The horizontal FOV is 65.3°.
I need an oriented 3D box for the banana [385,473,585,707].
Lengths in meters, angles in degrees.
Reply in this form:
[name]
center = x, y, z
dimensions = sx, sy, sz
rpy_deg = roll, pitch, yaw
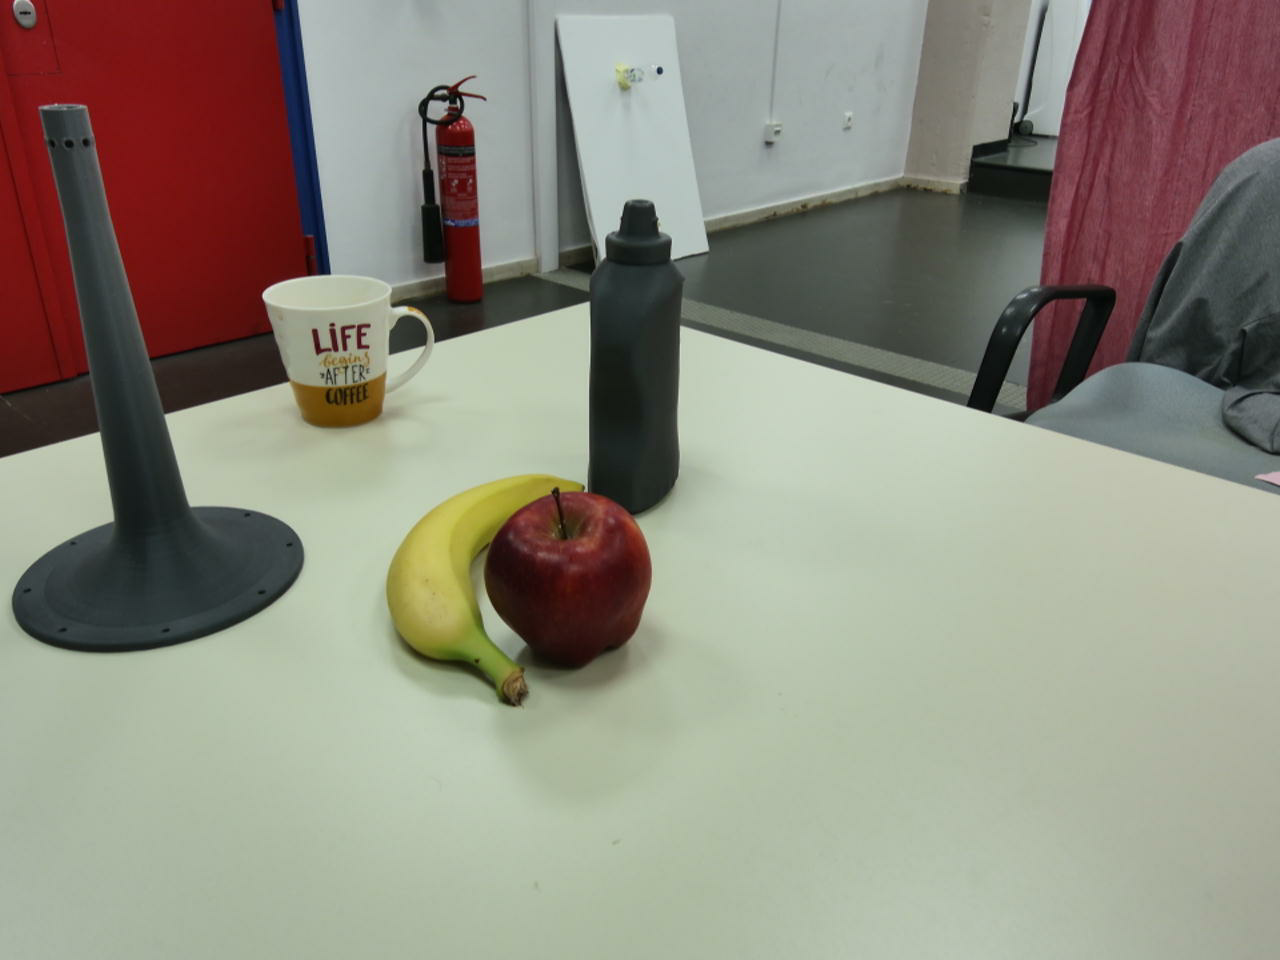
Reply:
[banana]
center = -0.090, 0.046, 0.557
dimensions = 0.094, 0.041, 0.196
rpy_deg = 4, 25, 5
